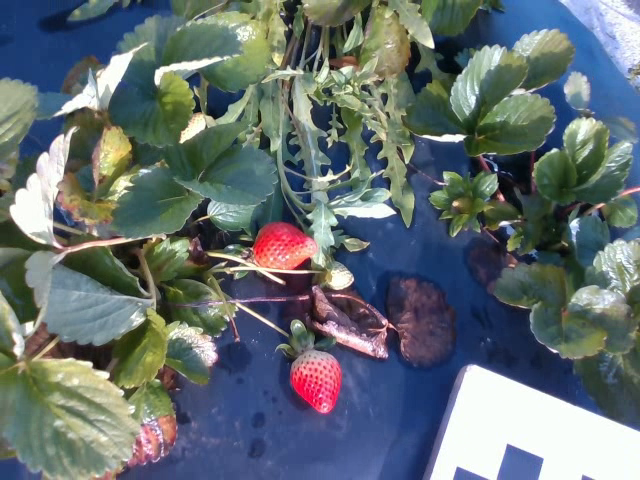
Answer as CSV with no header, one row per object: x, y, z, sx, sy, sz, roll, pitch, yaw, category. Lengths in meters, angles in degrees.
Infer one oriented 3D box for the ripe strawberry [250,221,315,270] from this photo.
-0.022,0.002,0.421,0.048,0.040,0.031,-7,-25,39,ripe strawberry

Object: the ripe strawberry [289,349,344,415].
-0.002,0.087,0.397,0.035,0.043,0.030,-12,-21,-8,ripe strawberry
